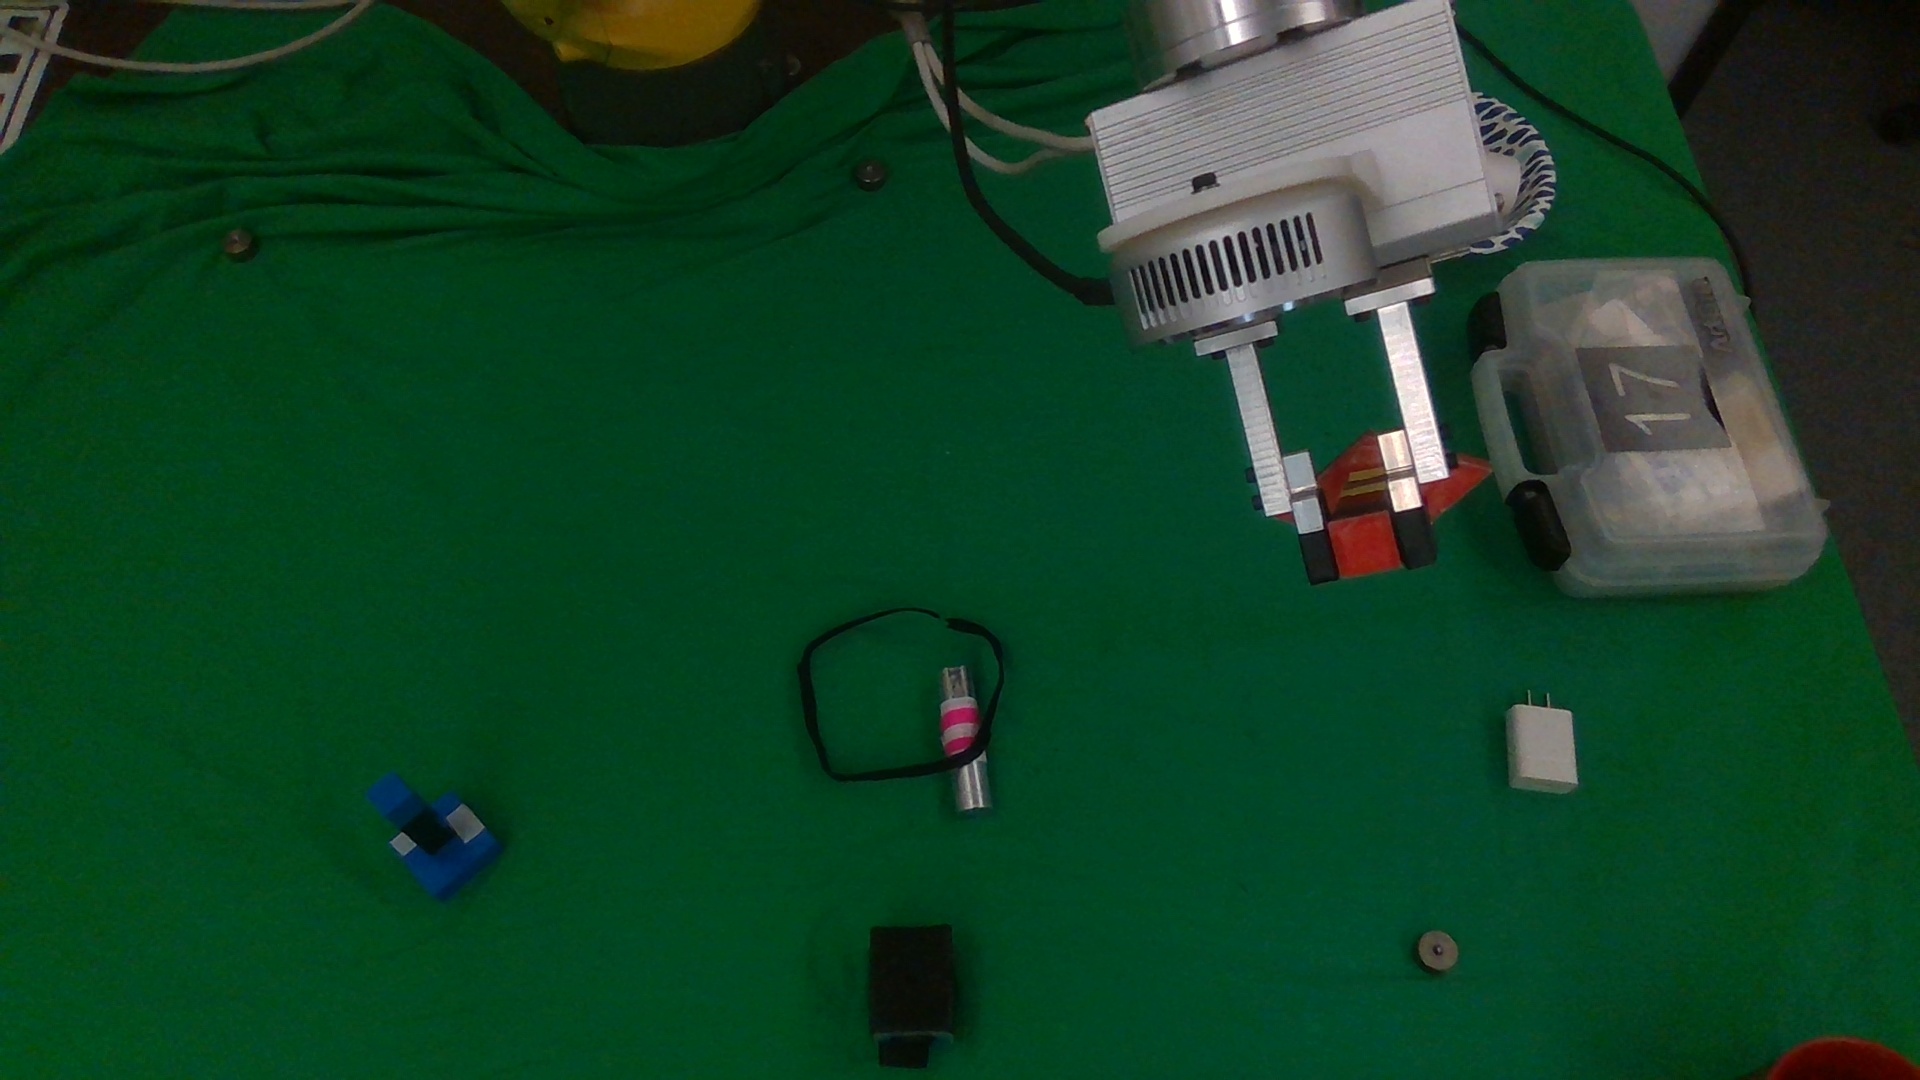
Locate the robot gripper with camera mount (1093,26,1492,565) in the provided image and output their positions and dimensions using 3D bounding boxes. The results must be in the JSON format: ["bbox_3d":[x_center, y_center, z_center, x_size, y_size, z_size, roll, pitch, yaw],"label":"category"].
[{"bbox_3d":[0.105,-0.059,0.397,0.119,0.193,0.158,-14,97,16],"label":"robot gripper with camera mount"}]

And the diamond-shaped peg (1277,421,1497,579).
[{"bbox_3d":[0.154,-0.013,0.515,0.045,0.121,0.074,47,114,5],"label":"diamond-shaped peg"}]
